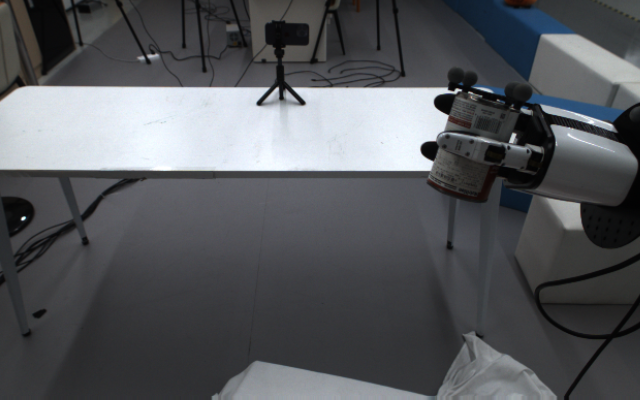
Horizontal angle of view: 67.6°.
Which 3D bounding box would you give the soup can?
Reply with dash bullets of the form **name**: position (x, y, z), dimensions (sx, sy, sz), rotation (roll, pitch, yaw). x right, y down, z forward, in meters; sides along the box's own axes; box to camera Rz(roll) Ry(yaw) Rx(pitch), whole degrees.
- **soup can**: position (0.163, -0.057, 0.515), dimensions (0.067, 0.101, 0.067), rotation (13, 18, -4)
